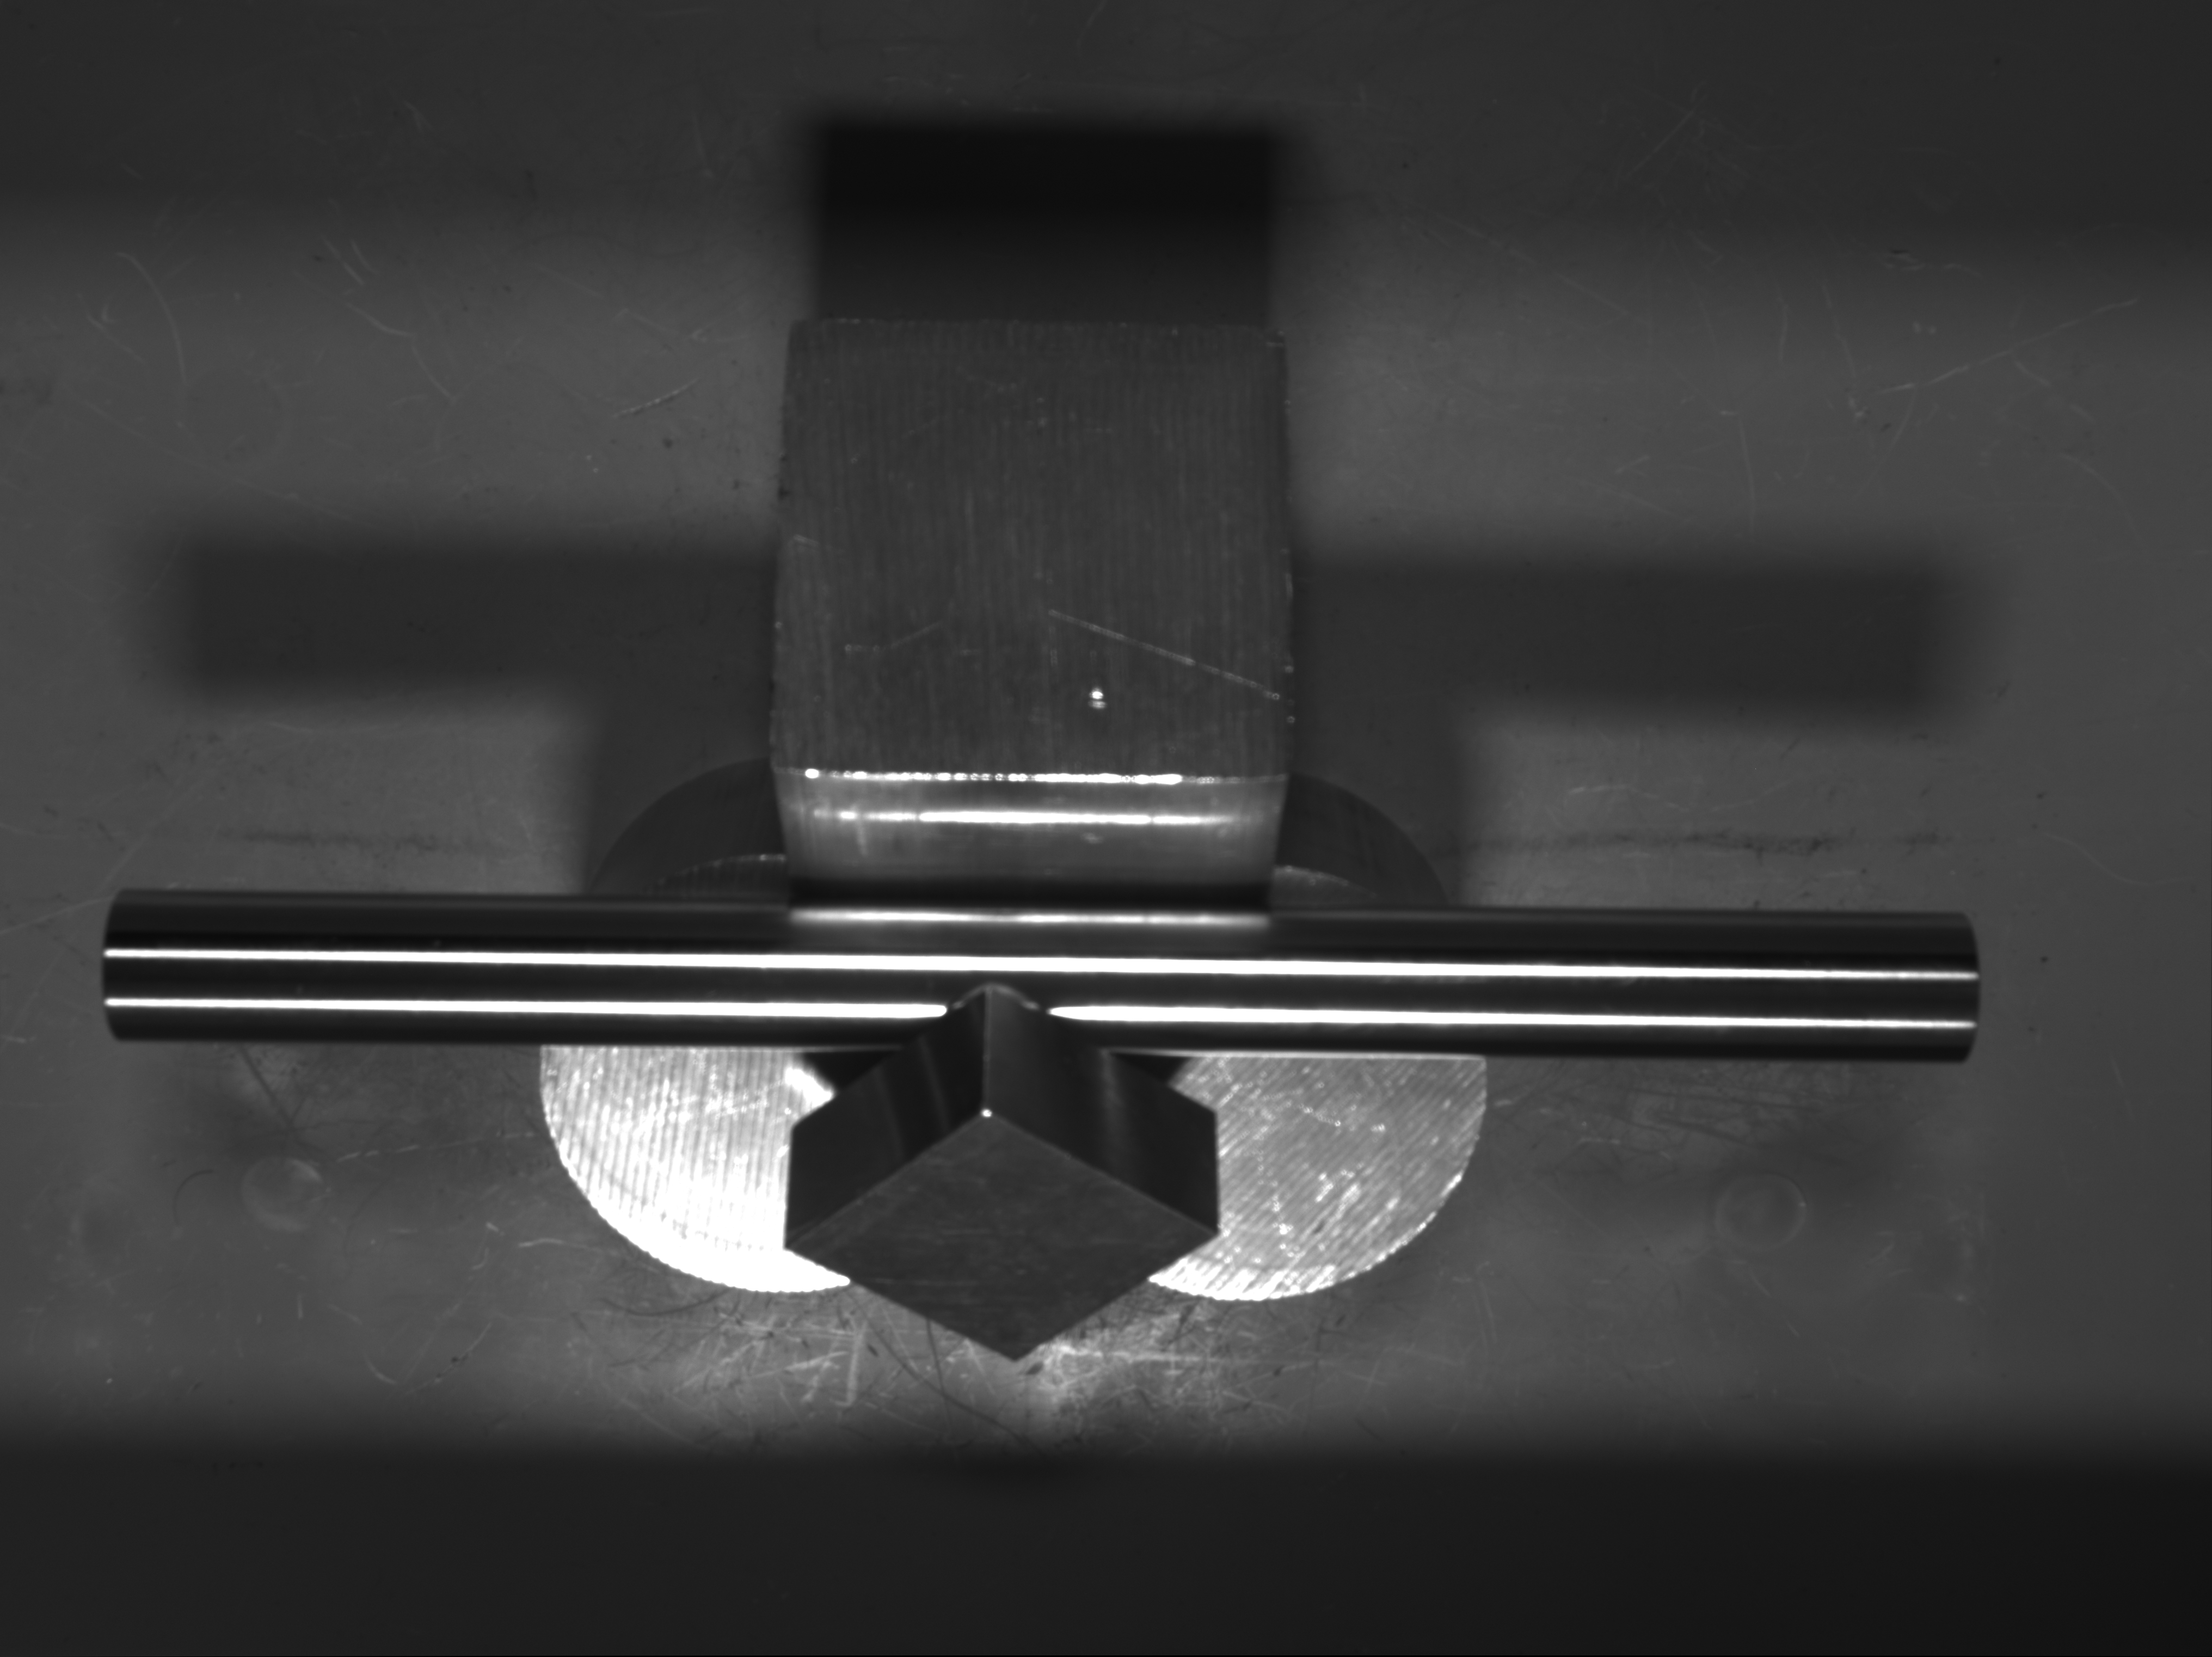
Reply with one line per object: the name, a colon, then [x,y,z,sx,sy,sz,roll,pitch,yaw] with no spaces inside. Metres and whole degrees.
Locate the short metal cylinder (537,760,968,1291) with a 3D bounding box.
short metal cylinder: [-0.056,0.034,0.640,0.080,0.050,0.080,0,110,-1]

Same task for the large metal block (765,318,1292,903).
large metal block: [-0.012,-0.035,0.594,0.080,0.050,0.080,1,67,-1]

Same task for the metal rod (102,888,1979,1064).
metal rod: [-0.010,0.024,0.598,0.300,0.025,0.025,1,110,-1]

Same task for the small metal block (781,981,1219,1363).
small metal block: [-0.017,0.057,0.598,0.050,0.025,0.050,31,130,-30]

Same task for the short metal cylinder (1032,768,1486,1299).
short metal cylinder: [0.024,0.035,0.642,0.080,0.050,0.080,0,110,-1]
